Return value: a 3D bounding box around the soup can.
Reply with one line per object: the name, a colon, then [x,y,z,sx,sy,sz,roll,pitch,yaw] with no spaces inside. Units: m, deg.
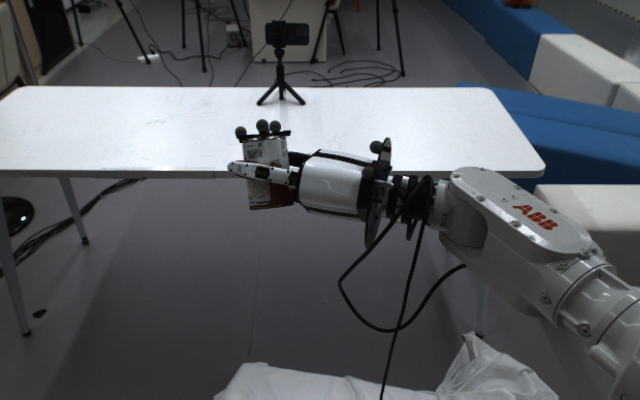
soup can: [-0.076,-0.038,0.715,0.067,0.101,0.067,-7,3,0]
